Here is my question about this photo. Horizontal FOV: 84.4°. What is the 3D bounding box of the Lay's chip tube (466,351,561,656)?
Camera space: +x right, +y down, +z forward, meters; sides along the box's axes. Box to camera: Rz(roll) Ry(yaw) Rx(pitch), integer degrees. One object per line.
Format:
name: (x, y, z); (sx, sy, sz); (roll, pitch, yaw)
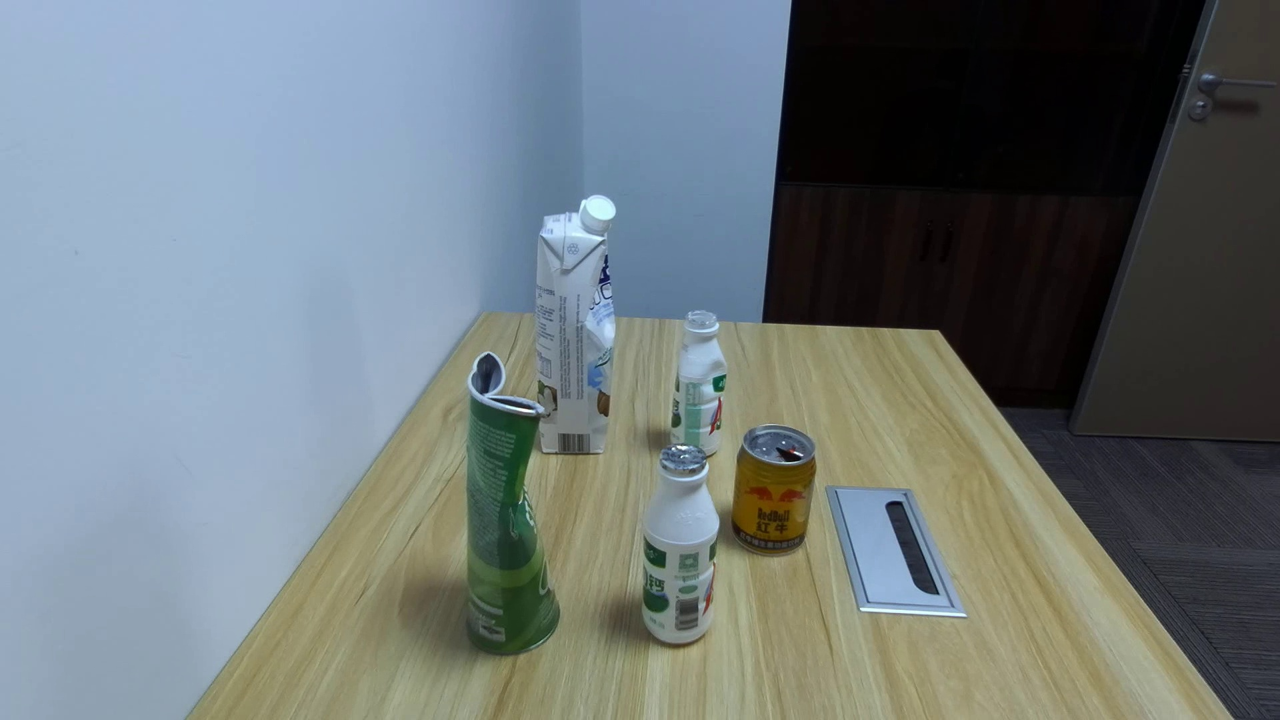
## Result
Lay's chip tube: (-0.093, 0.103, 0.482); (0.077, 0.201, 0.069); (17, 31, 25)

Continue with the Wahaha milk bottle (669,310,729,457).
Wahaha milk bottle: (0.059, 0.025, 0.699); (0.055, 0.149, 0.055); (1, 28, 0)

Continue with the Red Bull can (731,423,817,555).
Red Bull can: (0.112, 0.108, 0.596); (0.067, 0.093, 0.067); (1, 26, 0)

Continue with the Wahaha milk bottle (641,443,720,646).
Wahaha milk bottle: (0.028, 0.129, 0.491); (0.053, 0.147, 0.053); (1, 26, 0)
